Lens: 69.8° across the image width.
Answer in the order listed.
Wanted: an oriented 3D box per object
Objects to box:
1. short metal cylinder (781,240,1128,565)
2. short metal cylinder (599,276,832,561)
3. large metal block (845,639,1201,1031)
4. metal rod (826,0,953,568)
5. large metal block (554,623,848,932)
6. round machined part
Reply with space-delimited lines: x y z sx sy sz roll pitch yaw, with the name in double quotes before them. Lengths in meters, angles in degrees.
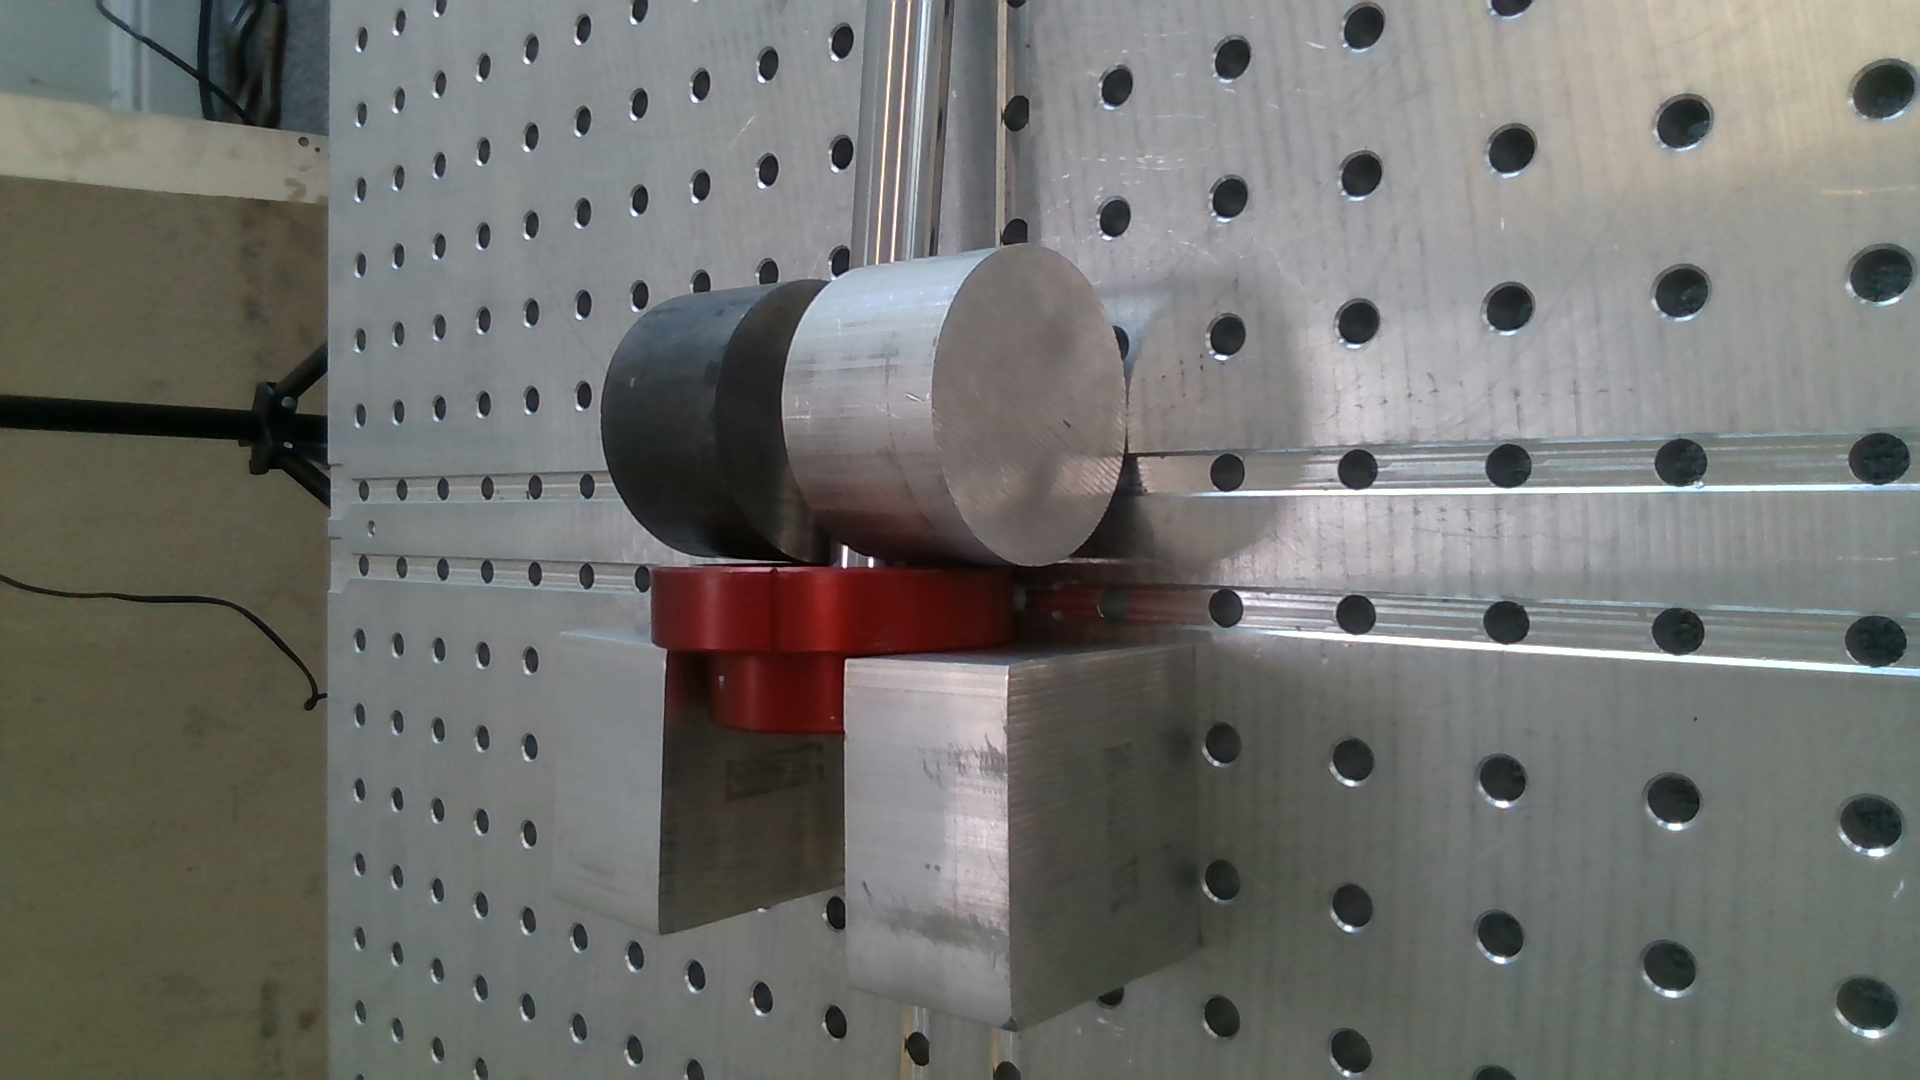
"short metal cylinder" 0.000 -0.034 0.357 0.050 0.080 0.080 1 91 41
"short metal cylinder" -0.058 -0.035 0.405 0.050 0.080 0.080 2 91 41
"large metal block" 0.018 0.066 0.345 0.050 0.080 0.080 0 90 40
"metal rod" -0.017 -0.116 0.392 0.025 0.025 0.300 3 88 40
"large metal block" -0.074 0.066 0.422 0.050 0.080 0.080 4 93 40
"round machined part" -0.035 0.028 0.375 0.098 0.098 0.042 1 91 40
